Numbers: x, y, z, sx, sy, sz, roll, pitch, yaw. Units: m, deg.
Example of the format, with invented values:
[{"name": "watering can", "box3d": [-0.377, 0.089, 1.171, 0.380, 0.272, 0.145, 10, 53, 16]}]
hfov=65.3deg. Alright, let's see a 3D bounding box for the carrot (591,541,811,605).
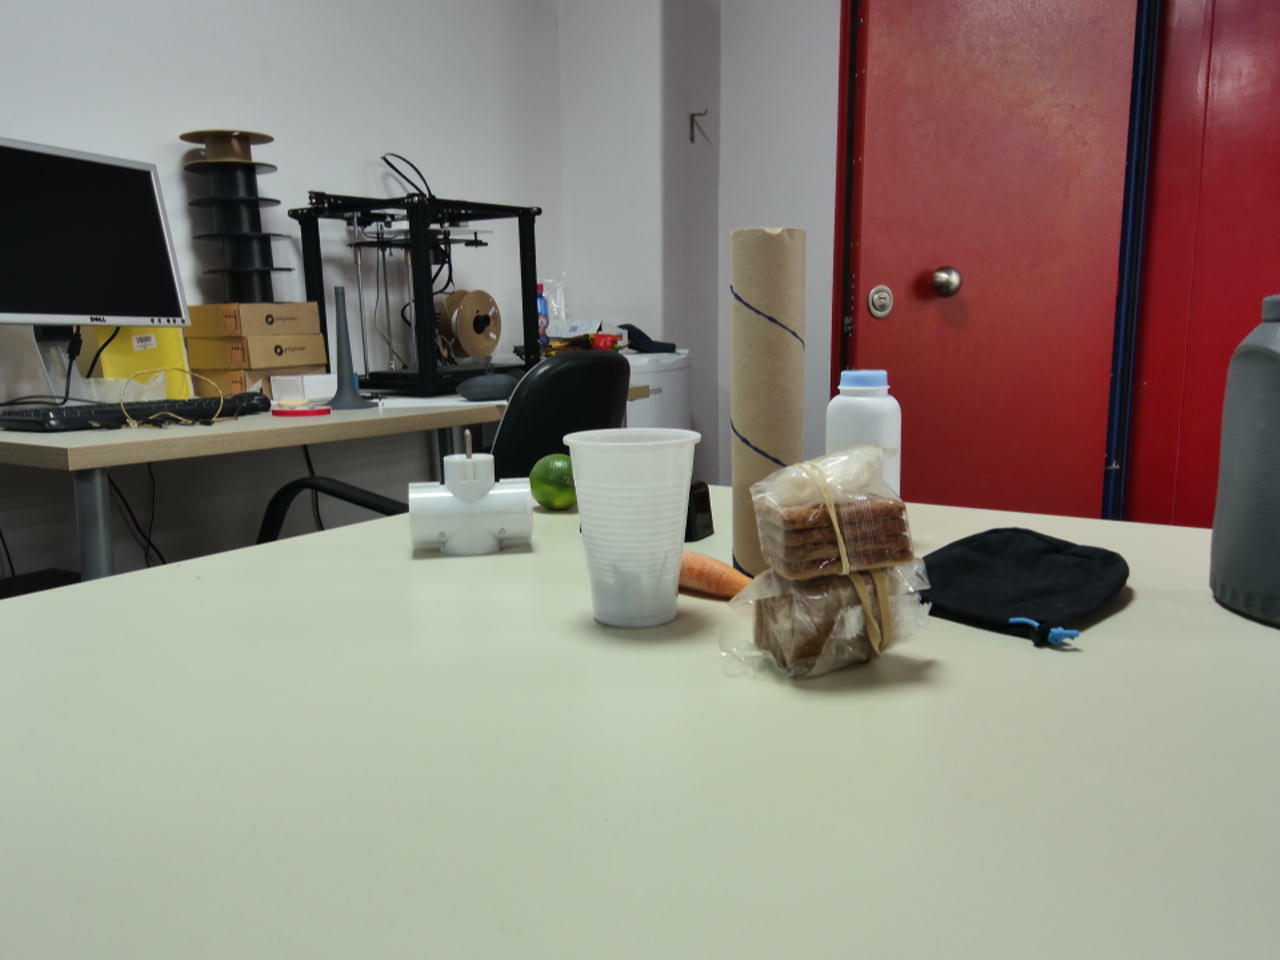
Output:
[{"name": "carrot", "box3d": [0.035, 0.058, 0.634, 0.163, 0.029, 0.031, 6, 9, 34]}]
